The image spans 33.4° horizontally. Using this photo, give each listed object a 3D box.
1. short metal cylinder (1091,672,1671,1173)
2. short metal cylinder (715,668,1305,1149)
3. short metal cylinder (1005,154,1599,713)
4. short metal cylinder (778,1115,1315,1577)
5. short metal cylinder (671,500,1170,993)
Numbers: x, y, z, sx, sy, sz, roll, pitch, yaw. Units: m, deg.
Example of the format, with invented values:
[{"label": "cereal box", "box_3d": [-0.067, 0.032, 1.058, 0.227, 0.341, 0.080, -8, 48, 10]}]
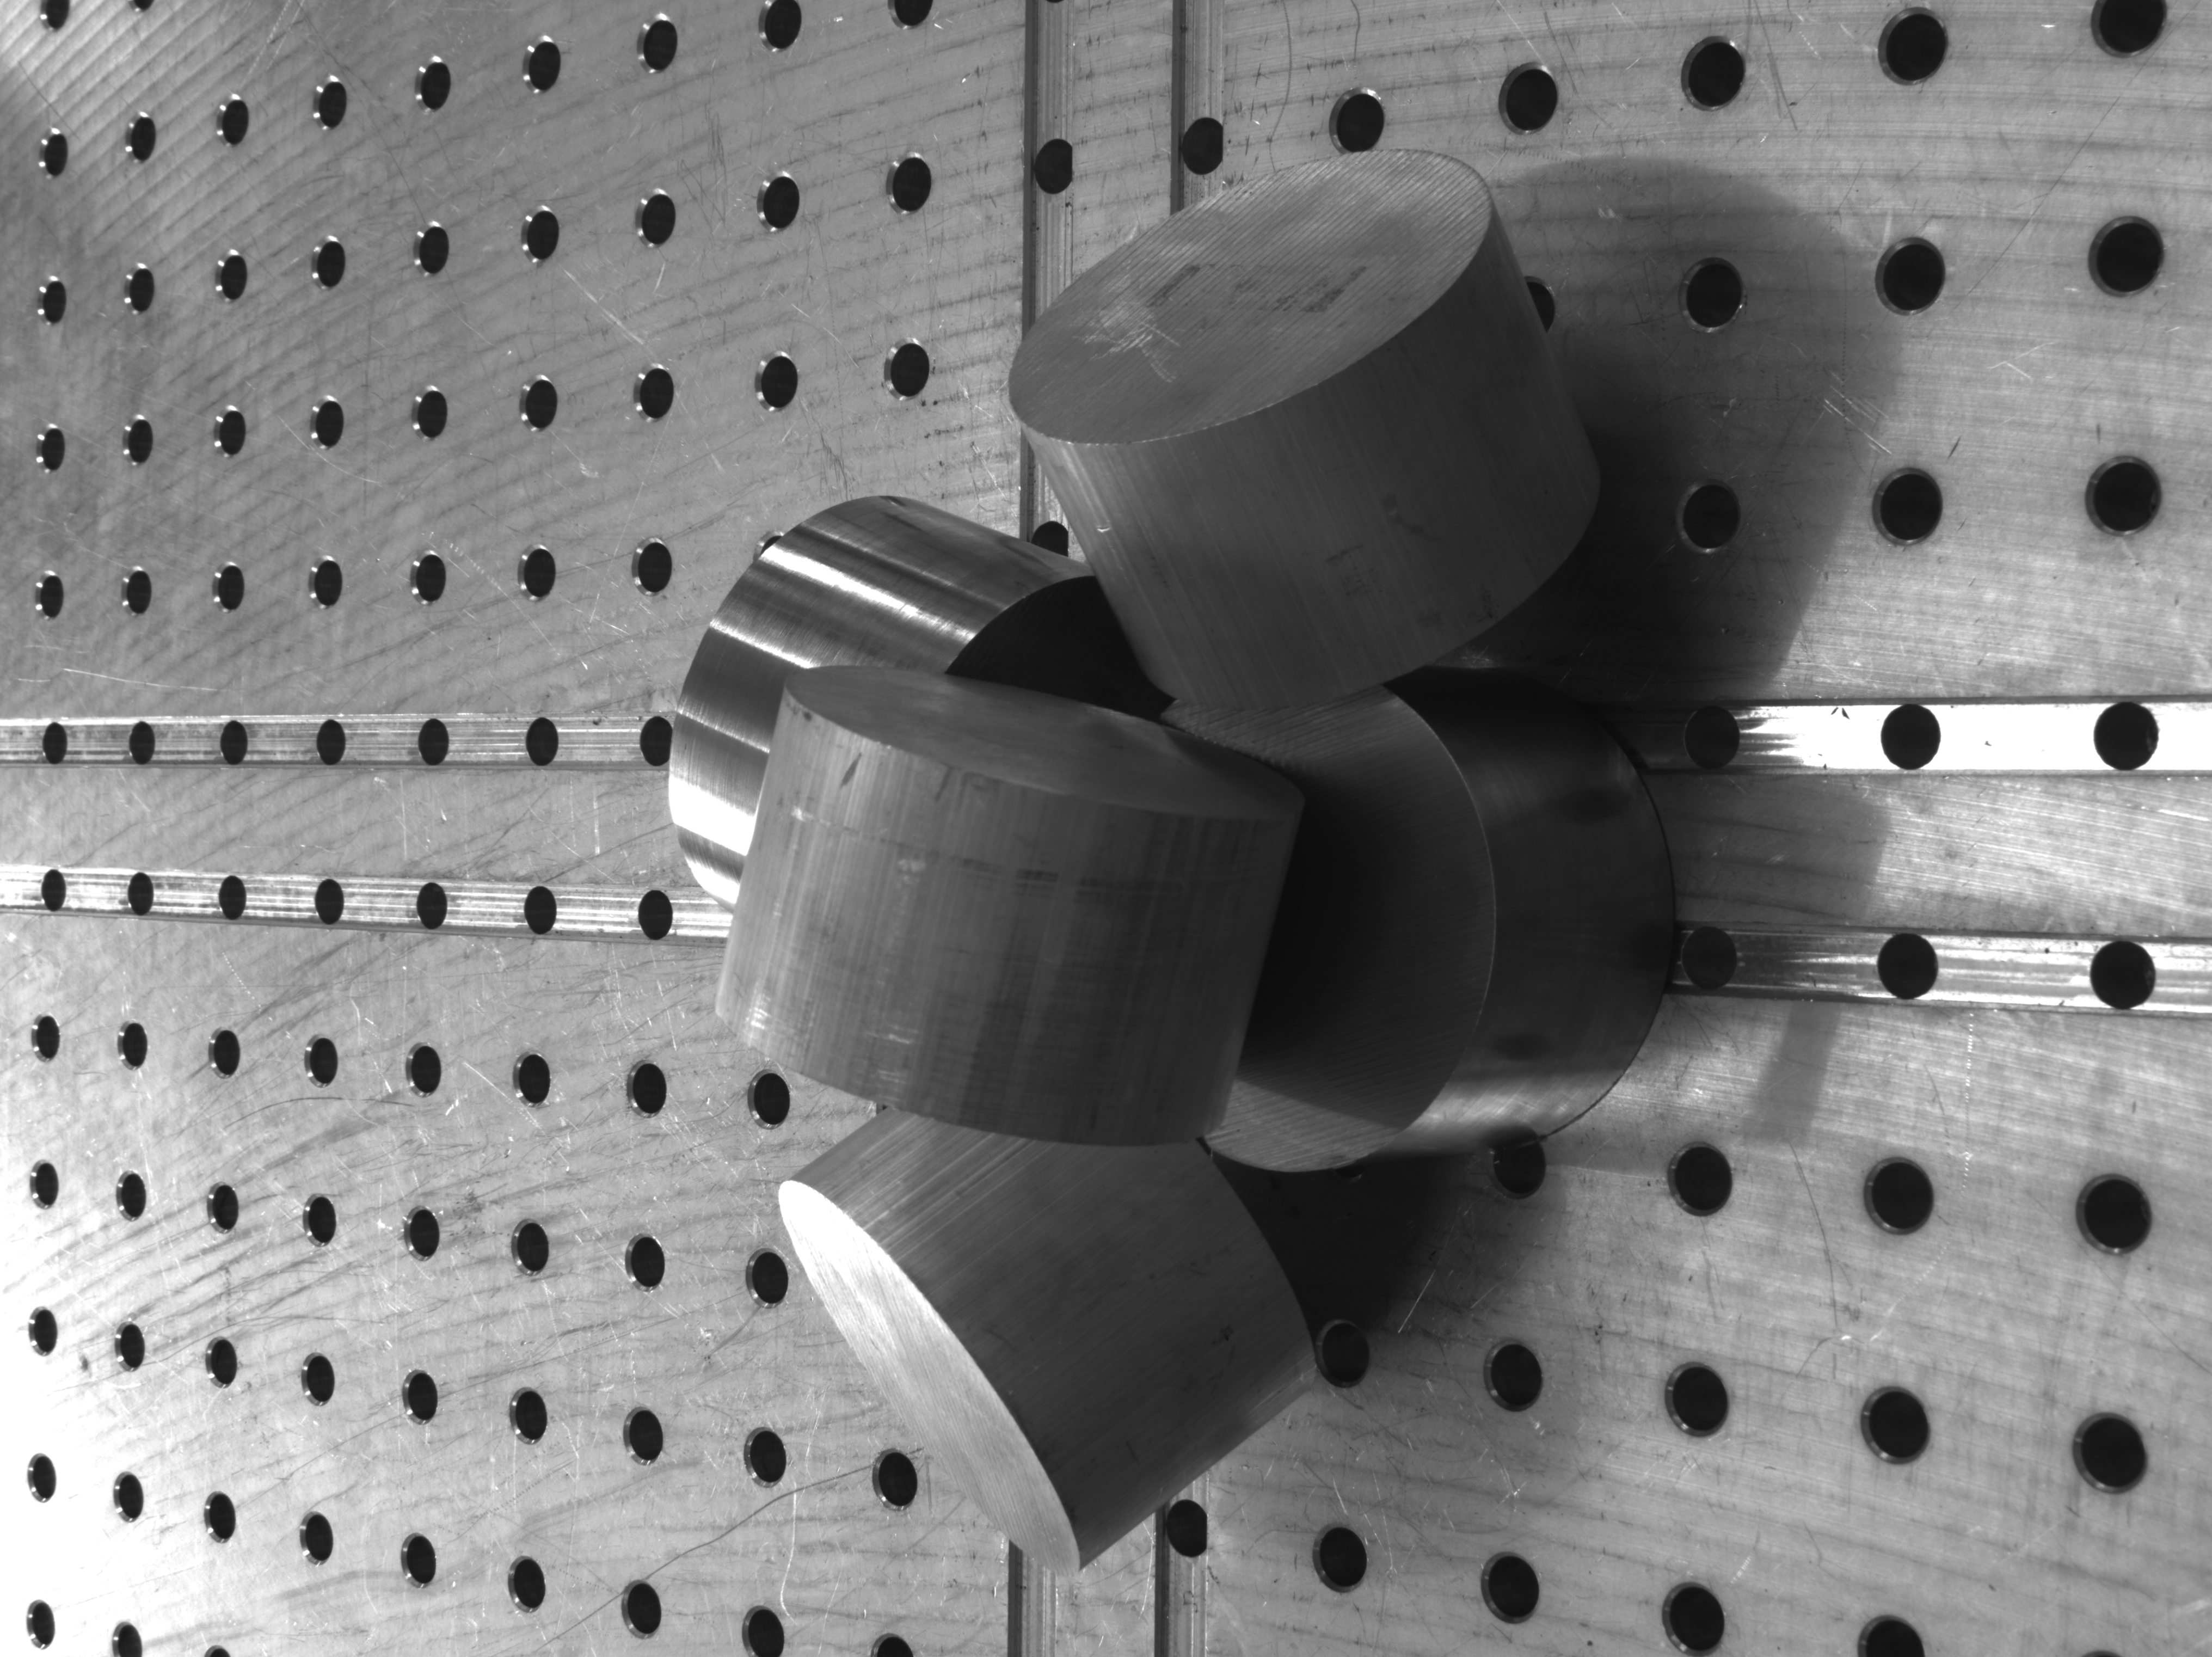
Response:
[{"label": "short metal cylinder", "box_3d": [0.043, 0.014, 0.594, 0.080, 0.050, 0.080, -1, 88, 41]}, {"label": "short metal cylinder", "box_3d": [-0.015, 0.011, 0.558, 0.080, 0.080, 0.050, 22, 104, 38]}, {"label": "short metal cylinder", "box_3d": [0.031, -0.063, 0.577, 0.080, 0.080, 0.050, 3, 131, 40]}, {"label": "short metal cylinder", "box_3d": [-0.010, 0.077, 0.613, 0.080, 0.050, 0.080, 47, 160, 23]}, {"label": "short metal cylinder", "box_3d": [-0.028, -0.012, 0.636, 0.050, 0.080, 0.080, 24, 105, 38]}]
